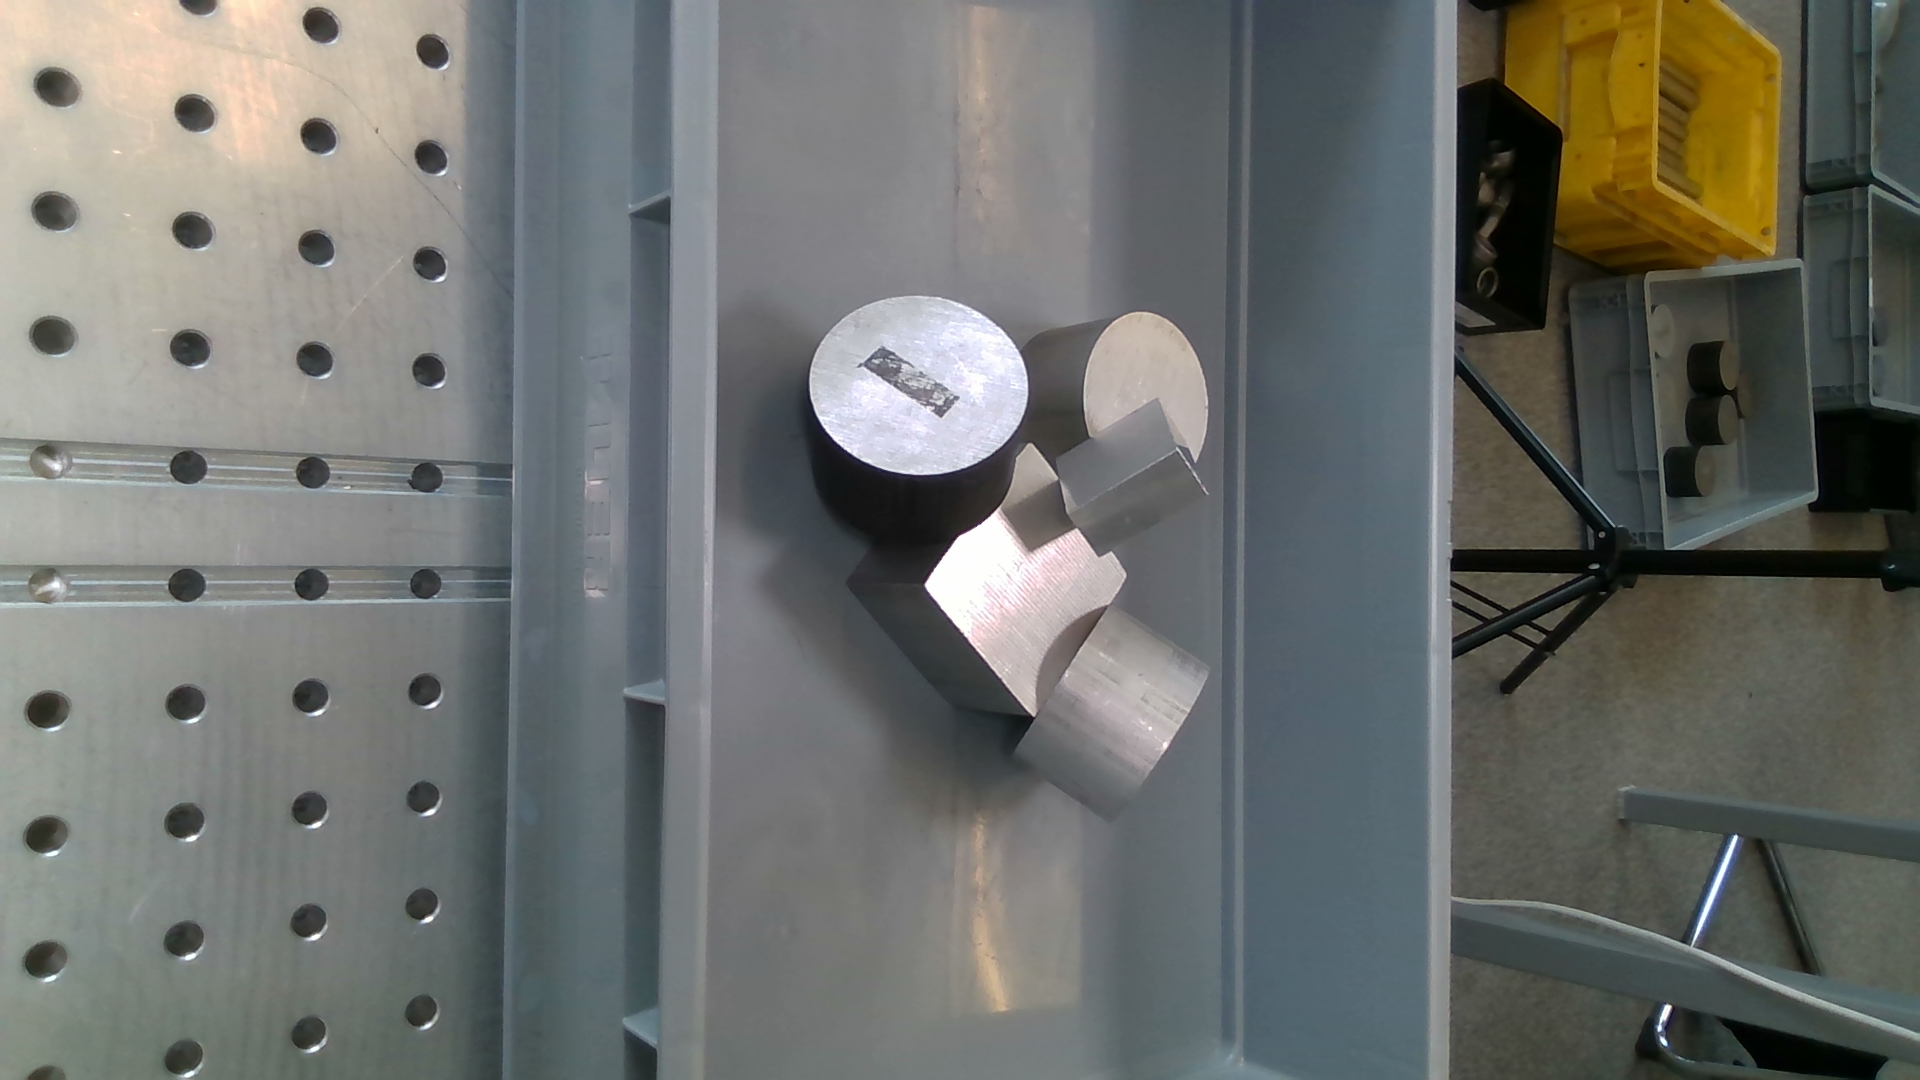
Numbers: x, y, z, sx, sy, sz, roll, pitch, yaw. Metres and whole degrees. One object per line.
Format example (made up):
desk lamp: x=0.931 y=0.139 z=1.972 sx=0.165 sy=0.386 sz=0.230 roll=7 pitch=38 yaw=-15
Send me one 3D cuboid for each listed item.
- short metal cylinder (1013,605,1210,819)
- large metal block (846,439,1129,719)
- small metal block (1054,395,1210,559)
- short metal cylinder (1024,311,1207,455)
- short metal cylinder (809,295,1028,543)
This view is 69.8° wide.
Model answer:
short metal cylinder: x=0.065 y=0.073 z=0.592 sx=0.050 sy=0.080 sz=0.080 roll=33 pitch=64 yaw=6
large metal block: x=0.013 y=0.016 z=0.574 sx=0.080 sy=0.050 sz=0.080 roll=52 pitch=60 yaw=-28
small metal block: x=0.069 y=-0.026 z=0.559 sx=0.025 sy=0.050 sz=0.050 roll=52 pitch=16 yaw=-25
short metal cylinder: x=0.066 y=-0.060 z=0.622 sx=0.080 sy=0.050 sz=0.080 roll=0 pitch=90 yaw=-40
short metal cylinder: x=-0.016 y=-0.046 z=0.524 sx=0.080 sy=0.050 sz=0.080 roll=2 pitch=60 yaw=-3
